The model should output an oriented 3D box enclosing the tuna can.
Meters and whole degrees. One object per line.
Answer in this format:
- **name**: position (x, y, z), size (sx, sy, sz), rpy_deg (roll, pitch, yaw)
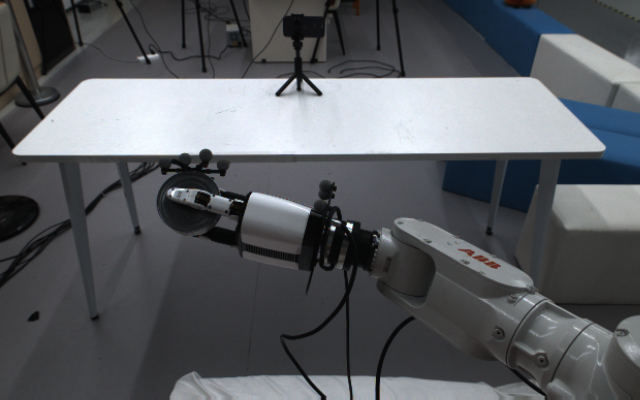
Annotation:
- **tuna can**: position (-0.172, 0.006, 0.661), size (0.085, 0.034, 0.085), rpy_deg (2, 70, -4)
